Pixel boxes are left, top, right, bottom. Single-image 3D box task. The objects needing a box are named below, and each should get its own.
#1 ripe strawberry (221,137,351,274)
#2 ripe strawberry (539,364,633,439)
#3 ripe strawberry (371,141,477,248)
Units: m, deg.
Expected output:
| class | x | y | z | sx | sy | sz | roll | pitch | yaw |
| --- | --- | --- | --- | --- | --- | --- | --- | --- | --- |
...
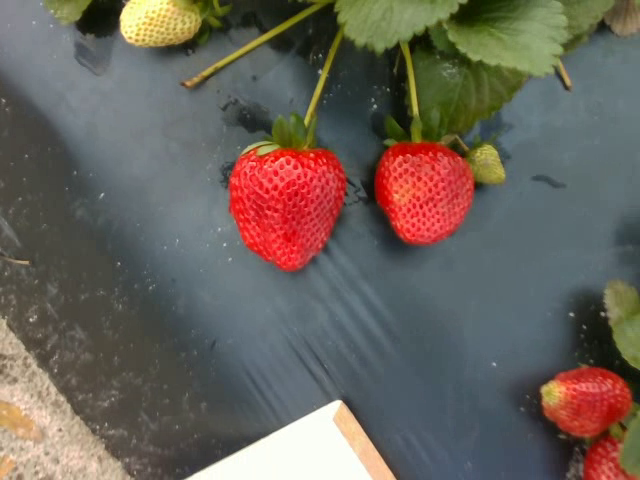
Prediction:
| class | x | y | z | sx | sy | sz | roll | pitch | yaw |
| --- | --- | --- | --- | --- | --- | --- | --- | --- | --- |
| ripe strawberry | -0.017 | -0.014 | 0.277 | 0.058 | 0.065 | 0.043 | -1 | -5 | 24 |
| ripe strawberry | 0.123 | 0.078 | 0.280 | 0.053 | 0.047 | 0.039 | 22 | 28 | -22 |
| ripe strawberry | 0.048 | -0.020 | 0.281 | 0.050 | 0.060 | 0.051 | -7 | -39 | 25 |
